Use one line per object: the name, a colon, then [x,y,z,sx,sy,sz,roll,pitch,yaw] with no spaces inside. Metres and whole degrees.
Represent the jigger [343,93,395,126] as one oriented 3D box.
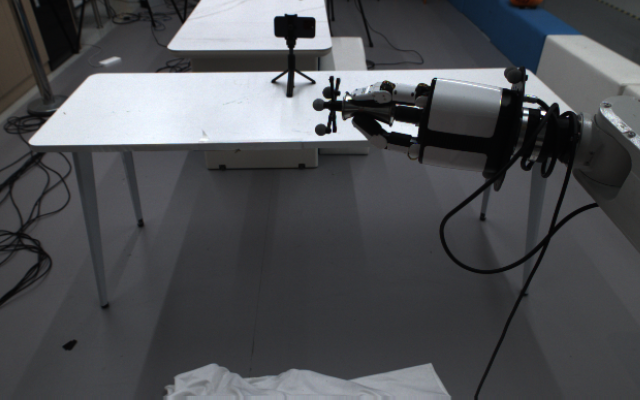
jigger: [0.073,-0.132,0.668,0.071,0.043,0.043,8,35,14]
